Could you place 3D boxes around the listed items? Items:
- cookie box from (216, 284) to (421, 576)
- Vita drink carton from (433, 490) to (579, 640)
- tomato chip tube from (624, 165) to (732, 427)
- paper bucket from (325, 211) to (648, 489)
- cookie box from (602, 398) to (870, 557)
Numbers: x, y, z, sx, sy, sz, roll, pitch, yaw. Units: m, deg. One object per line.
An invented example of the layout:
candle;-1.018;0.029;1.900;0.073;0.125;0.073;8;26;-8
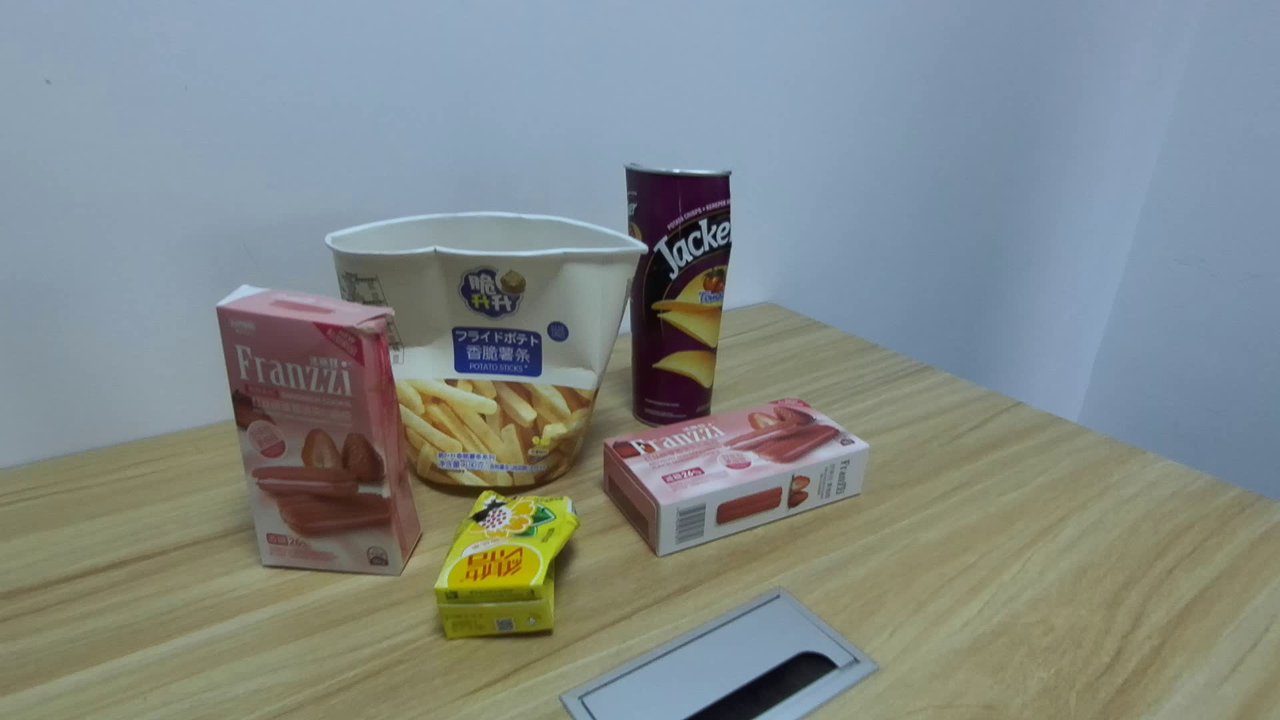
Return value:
cookie box;-0.198;0.050;0.451;0.118;0.184;0.055;5;24;9
Vita drink carton;-0.084;0.128;0.455;0.087;0.042;0.108;-4;19;4
tomato chip tube;0.032;-0.056;0.643;0.076;0.235;0.077;-9;24;-21
paper bucket;-0.118;-0.010;0.577;0.219;0.199;0.147;-11;26;-23
cookie box;0.074;0.085;0.553;0.185;0.048;0.095;-11;26;-24
